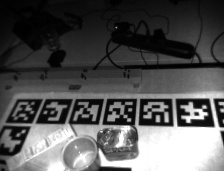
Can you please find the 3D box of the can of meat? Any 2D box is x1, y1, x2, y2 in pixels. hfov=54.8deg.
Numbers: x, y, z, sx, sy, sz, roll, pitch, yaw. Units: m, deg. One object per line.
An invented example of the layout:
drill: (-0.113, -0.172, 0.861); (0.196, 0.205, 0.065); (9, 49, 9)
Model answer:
can of meat: (0.012, 0.152, 0.571); (0.101, 0.084, 0.057); (-8, 48, 4)

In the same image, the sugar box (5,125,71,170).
sugar box: (-0.182, 0.181, 0.579); (0.177, 0.093, 0.045); (-30, 49, -15)

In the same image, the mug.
mug: (-0.093, 0.189, 0.551); (0.092, 0.082, 0.117); (20, 59, 25)
